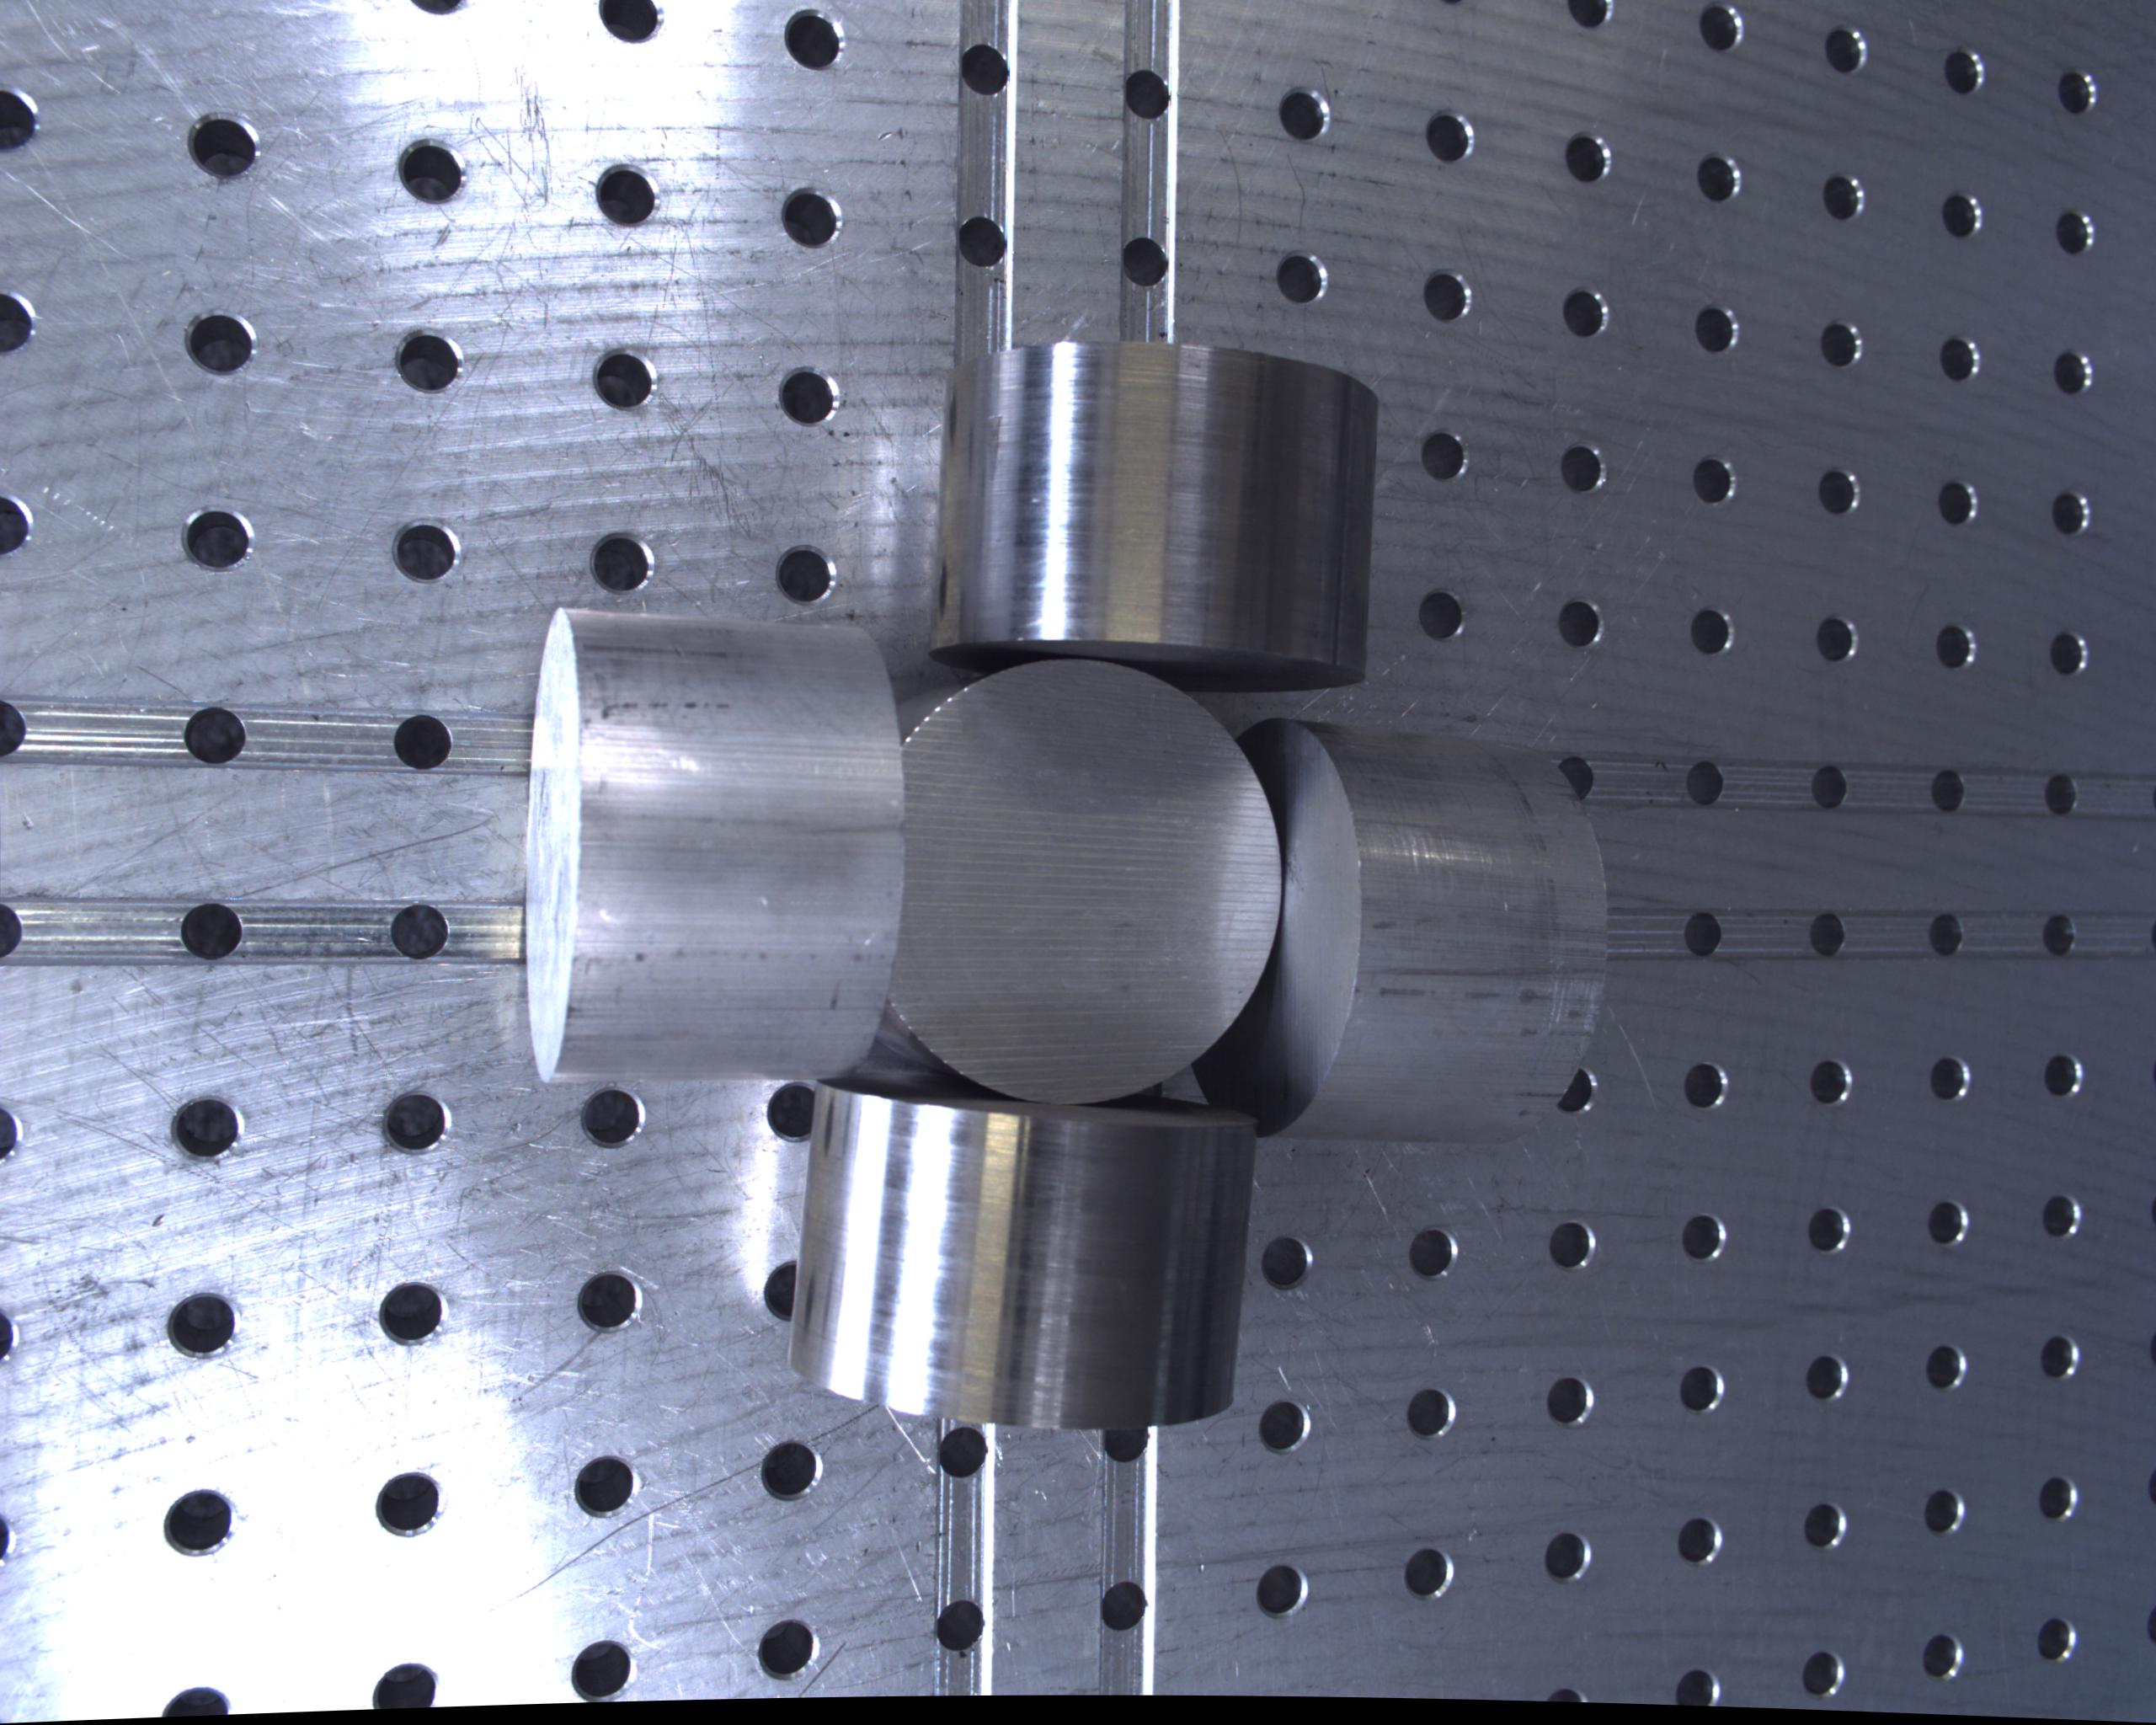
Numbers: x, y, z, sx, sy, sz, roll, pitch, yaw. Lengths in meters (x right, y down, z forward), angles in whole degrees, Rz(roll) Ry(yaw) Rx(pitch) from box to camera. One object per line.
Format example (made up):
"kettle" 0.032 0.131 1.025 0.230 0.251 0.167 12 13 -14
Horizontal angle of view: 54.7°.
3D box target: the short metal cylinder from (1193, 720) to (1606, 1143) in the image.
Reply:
"short metal cylinder" 0.058 0.014 0.405 0.050 0.080 0.080 4 89 -20

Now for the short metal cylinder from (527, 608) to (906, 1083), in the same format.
"short metal cylinder" -0.065 -0.002 0.359 0.050 0.080 0.080 2 90 -21

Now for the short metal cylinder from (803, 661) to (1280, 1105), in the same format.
"short metal cylinder" -0.009 0.004 0.396 0.081 0.050 0.080 0 90 -21

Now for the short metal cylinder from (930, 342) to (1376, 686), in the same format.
"short metal cylinder" 0.014 -0.061 0.388 0.081 0.080 0.050 3 89 -20

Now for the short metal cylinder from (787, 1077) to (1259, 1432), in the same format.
"short metal cylinder" -0.010 0.068 0.378 0.081 0.080 0.050 6 88 -20
